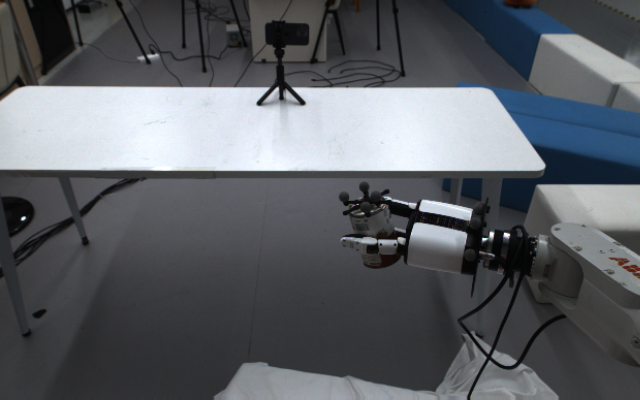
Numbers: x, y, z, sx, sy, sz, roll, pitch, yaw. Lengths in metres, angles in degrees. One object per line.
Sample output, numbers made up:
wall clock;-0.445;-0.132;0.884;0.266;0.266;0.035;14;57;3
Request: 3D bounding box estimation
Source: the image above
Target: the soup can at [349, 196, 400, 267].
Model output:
soup can;0.092;0.053;0.796;0.067;0.101;0.067;-16;22;7
